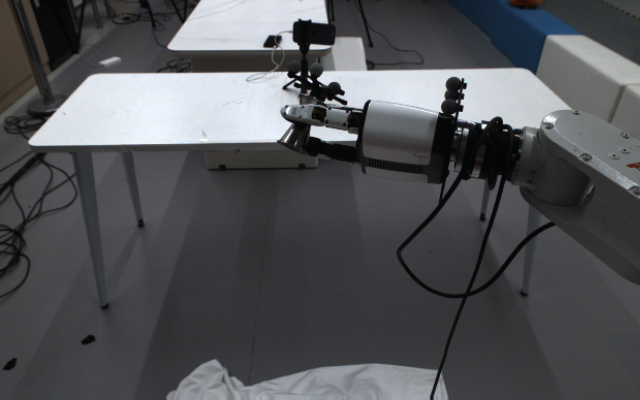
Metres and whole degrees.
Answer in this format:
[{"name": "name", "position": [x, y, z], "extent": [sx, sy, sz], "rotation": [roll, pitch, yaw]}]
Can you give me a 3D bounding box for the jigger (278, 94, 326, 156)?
[{"name": "jigger", "position": [-0.024, -0.100, 0.626], "extent": [0.043, 0.071, 0.043], "rotation": [24, -3, 1]}]
